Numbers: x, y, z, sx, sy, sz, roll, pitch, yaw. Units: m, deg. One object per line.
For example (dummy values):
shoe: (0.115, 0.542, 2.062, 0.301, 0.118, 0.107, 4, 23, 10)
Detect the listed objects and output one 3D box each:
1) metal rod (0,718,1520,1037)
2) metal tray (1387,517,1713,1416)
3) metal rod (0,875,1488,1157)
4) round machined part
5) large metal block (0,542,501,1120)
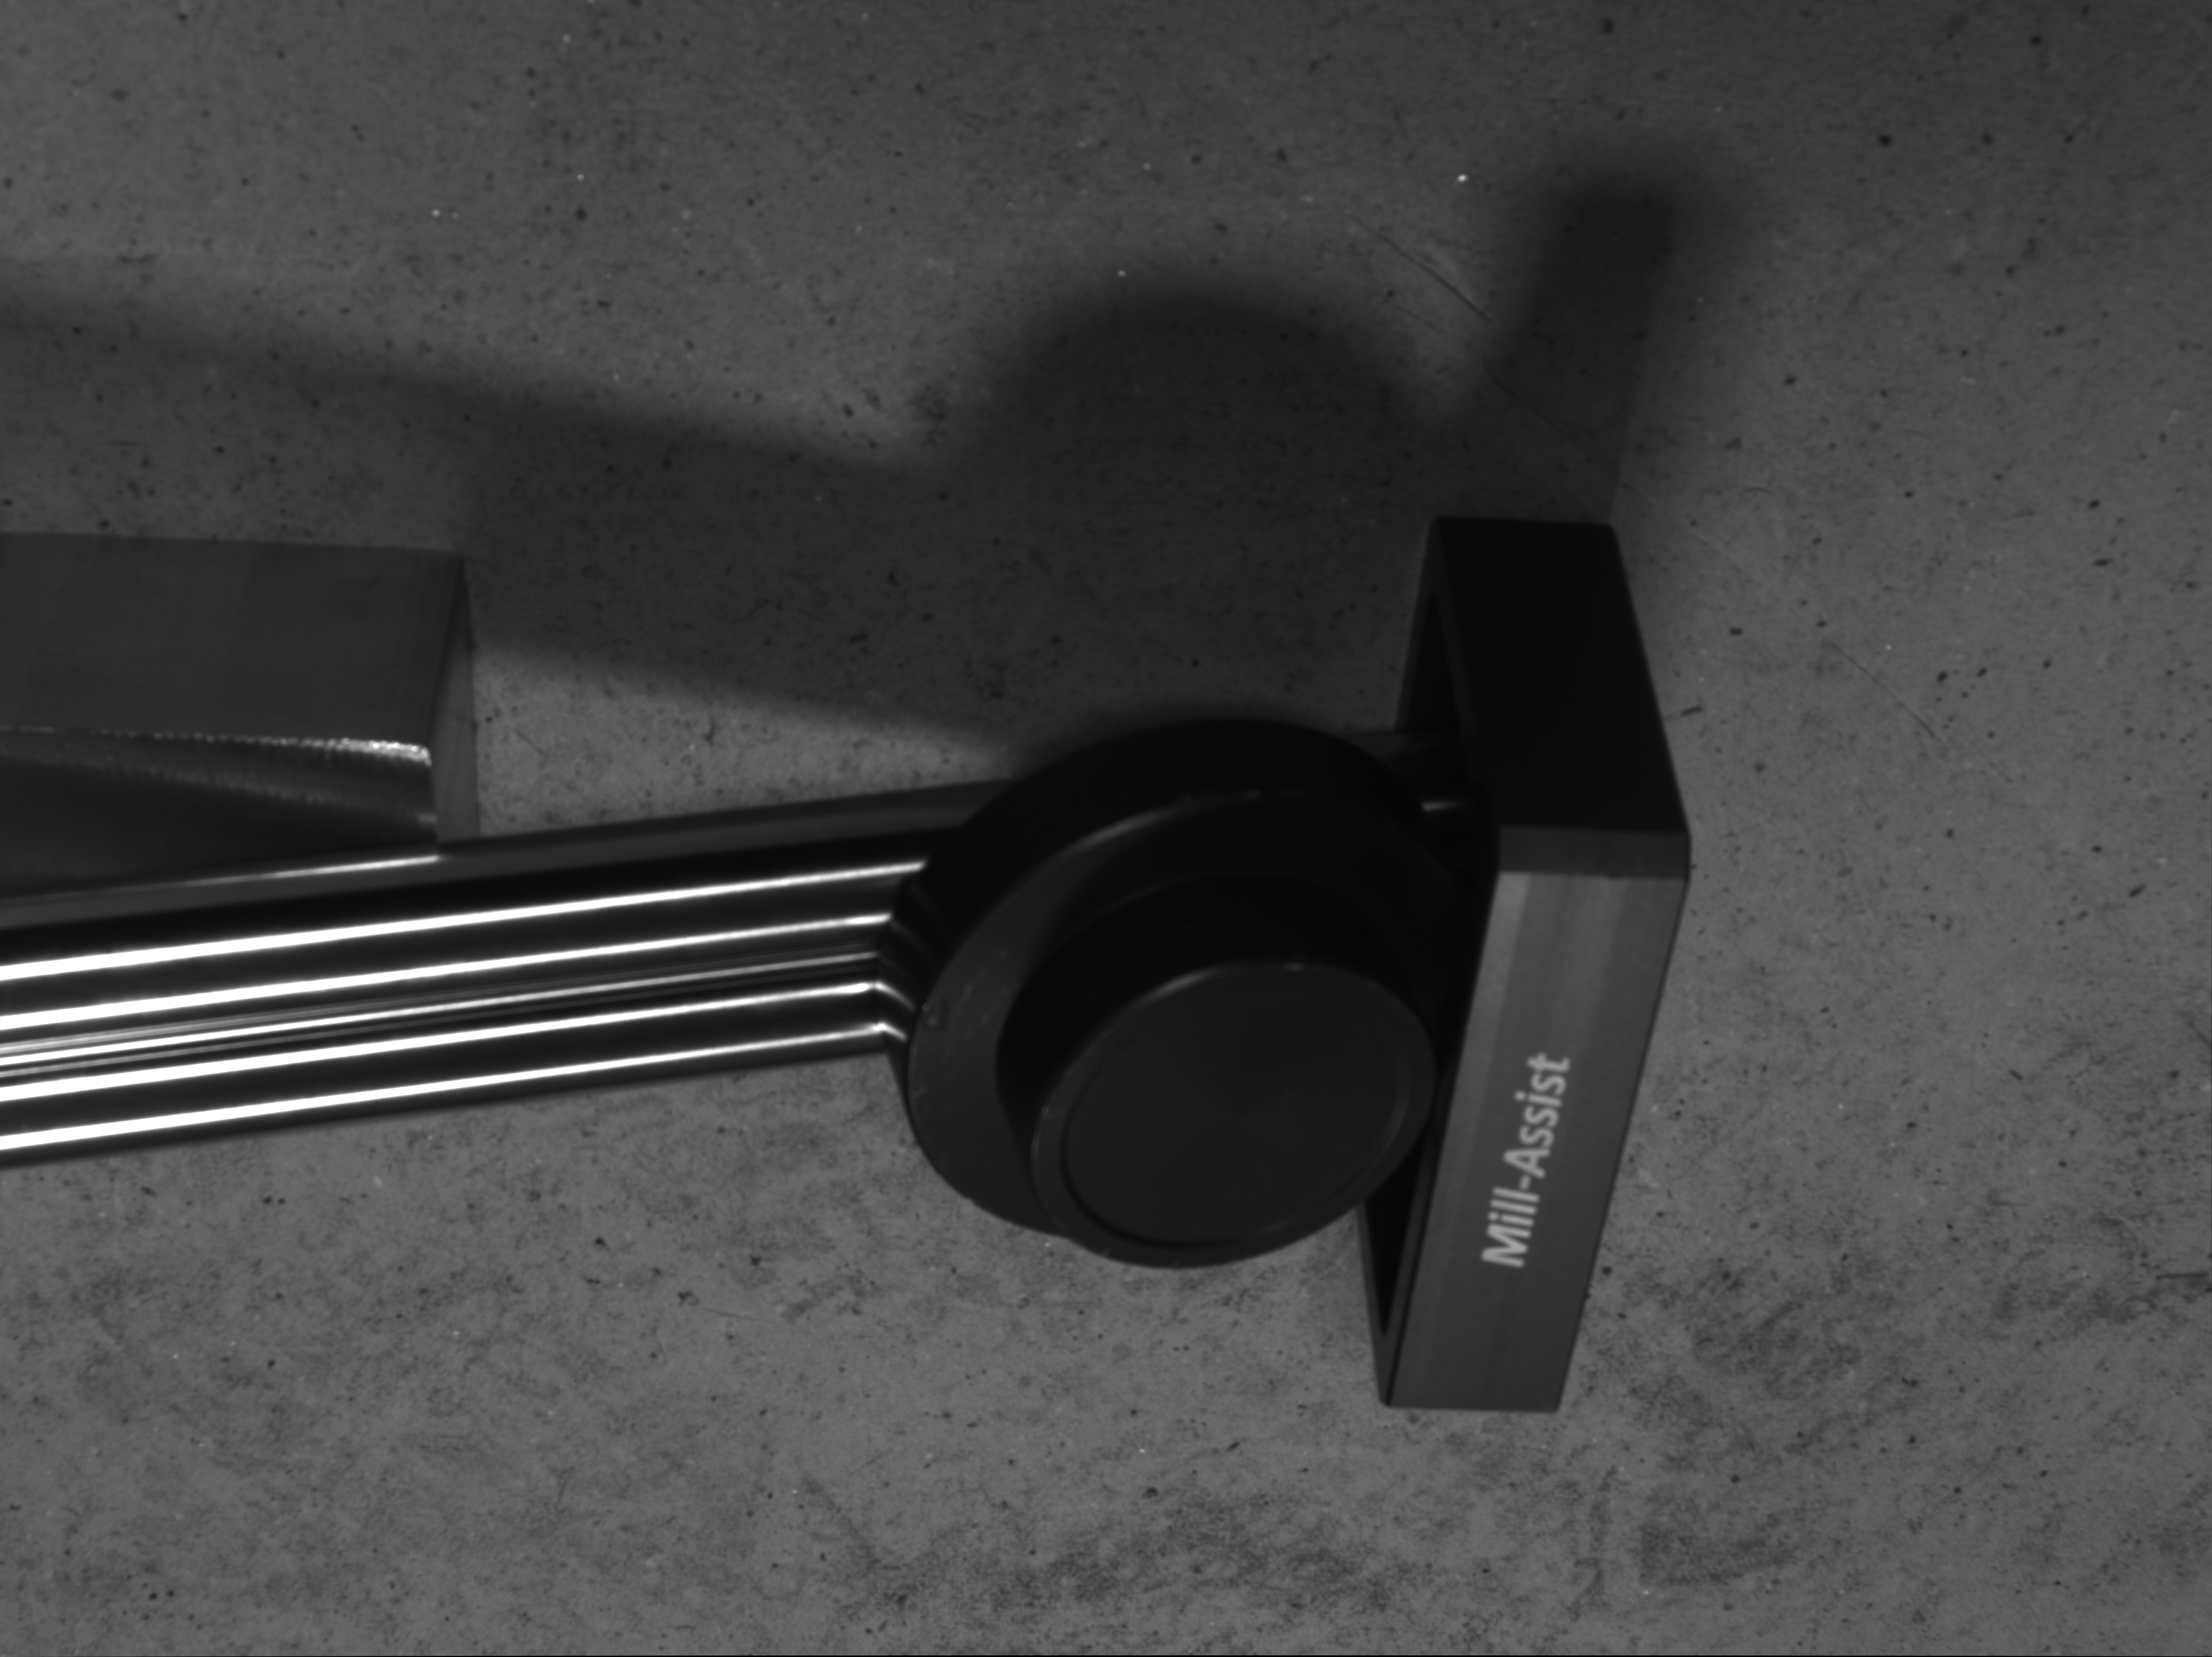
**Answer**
metal rod: (-0.079, 0.010, 0.585, 0.300, 0.025, 0.025, -6, 131, -13)
metal tray: (0.070, 0.025, 0.618, 0.030, 0.090, 0.130, 3, 130, -4)
metal rod: (-0.082, 0.030, 0.603, 0.300, 0.025, 0.025, -6, 131, -14)
round machined part: (0.018, 0.033, 0.592, 0.098, 0.042, 0.098, -8, 133, -9)
large metal block: (-0.144, 0.001, 0.614, 0.080, 0.050, 0.080, 2, 130, -4)
